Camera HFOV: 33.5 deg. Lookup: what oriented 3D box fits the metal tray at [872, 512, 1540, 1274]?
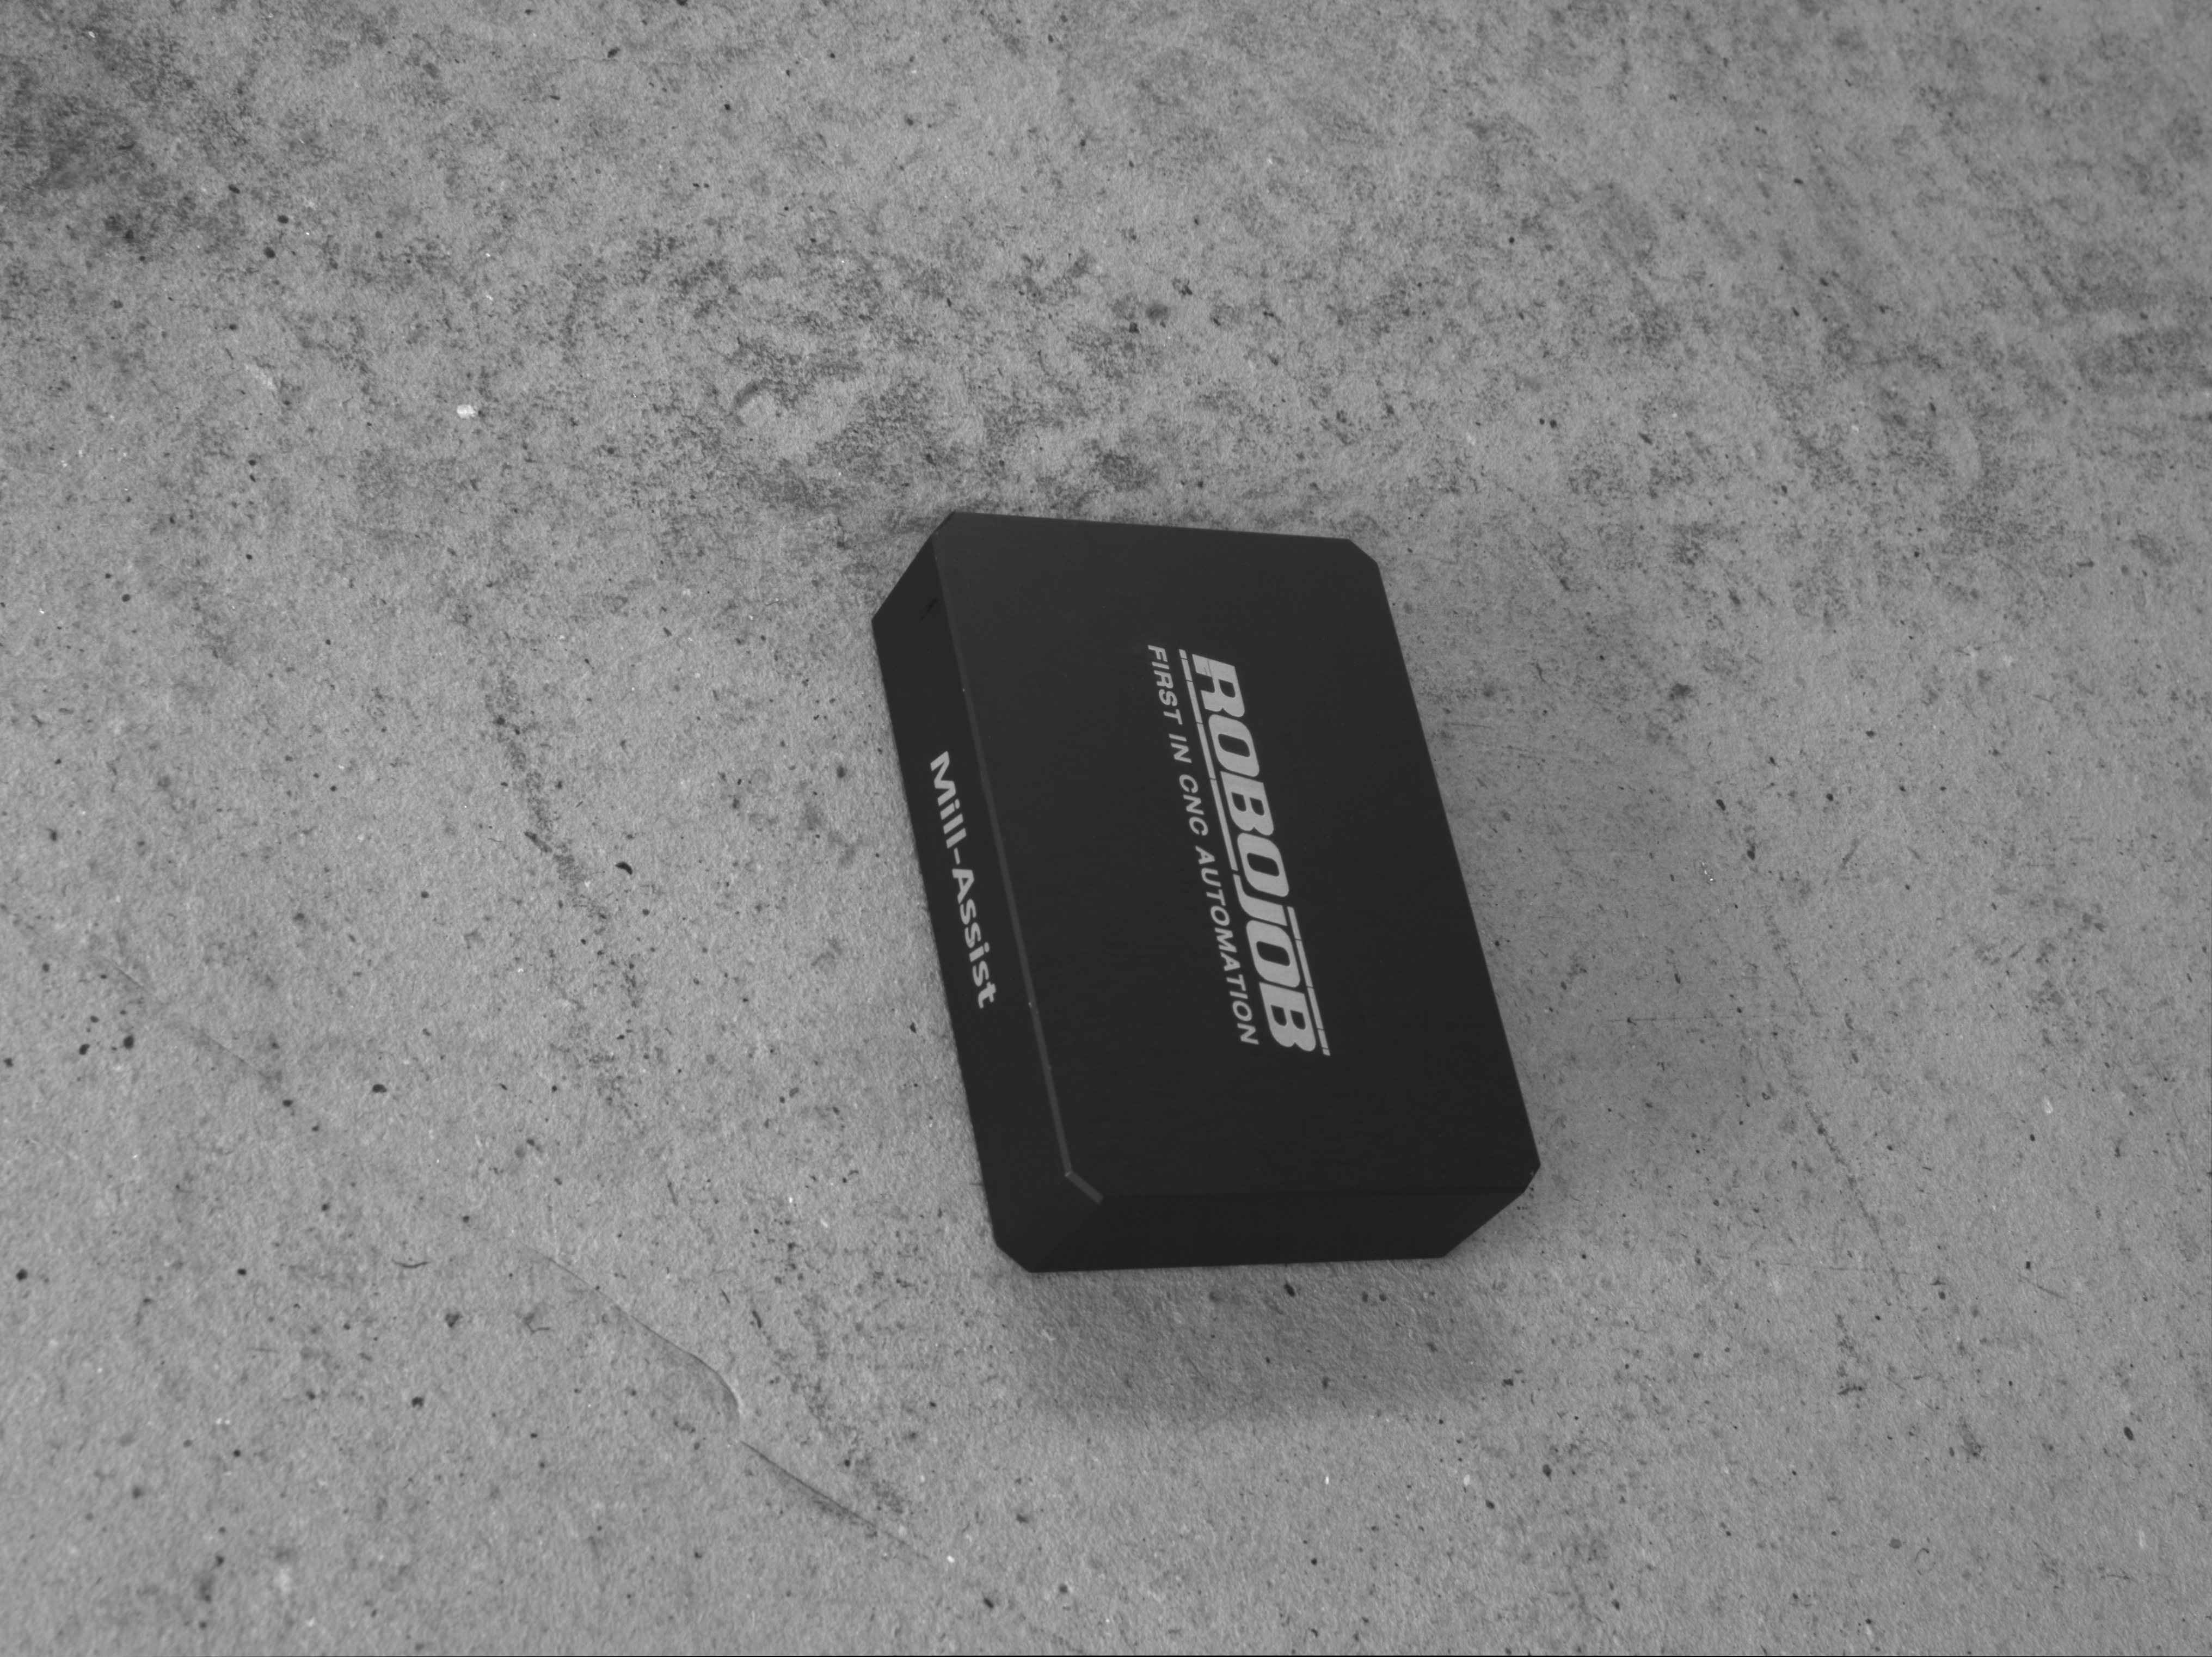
[{"bbox_3d":[0.016,0.010,0.638,0.090,0.030,0.130,2,62,-28],"label":"metal tray"}]
